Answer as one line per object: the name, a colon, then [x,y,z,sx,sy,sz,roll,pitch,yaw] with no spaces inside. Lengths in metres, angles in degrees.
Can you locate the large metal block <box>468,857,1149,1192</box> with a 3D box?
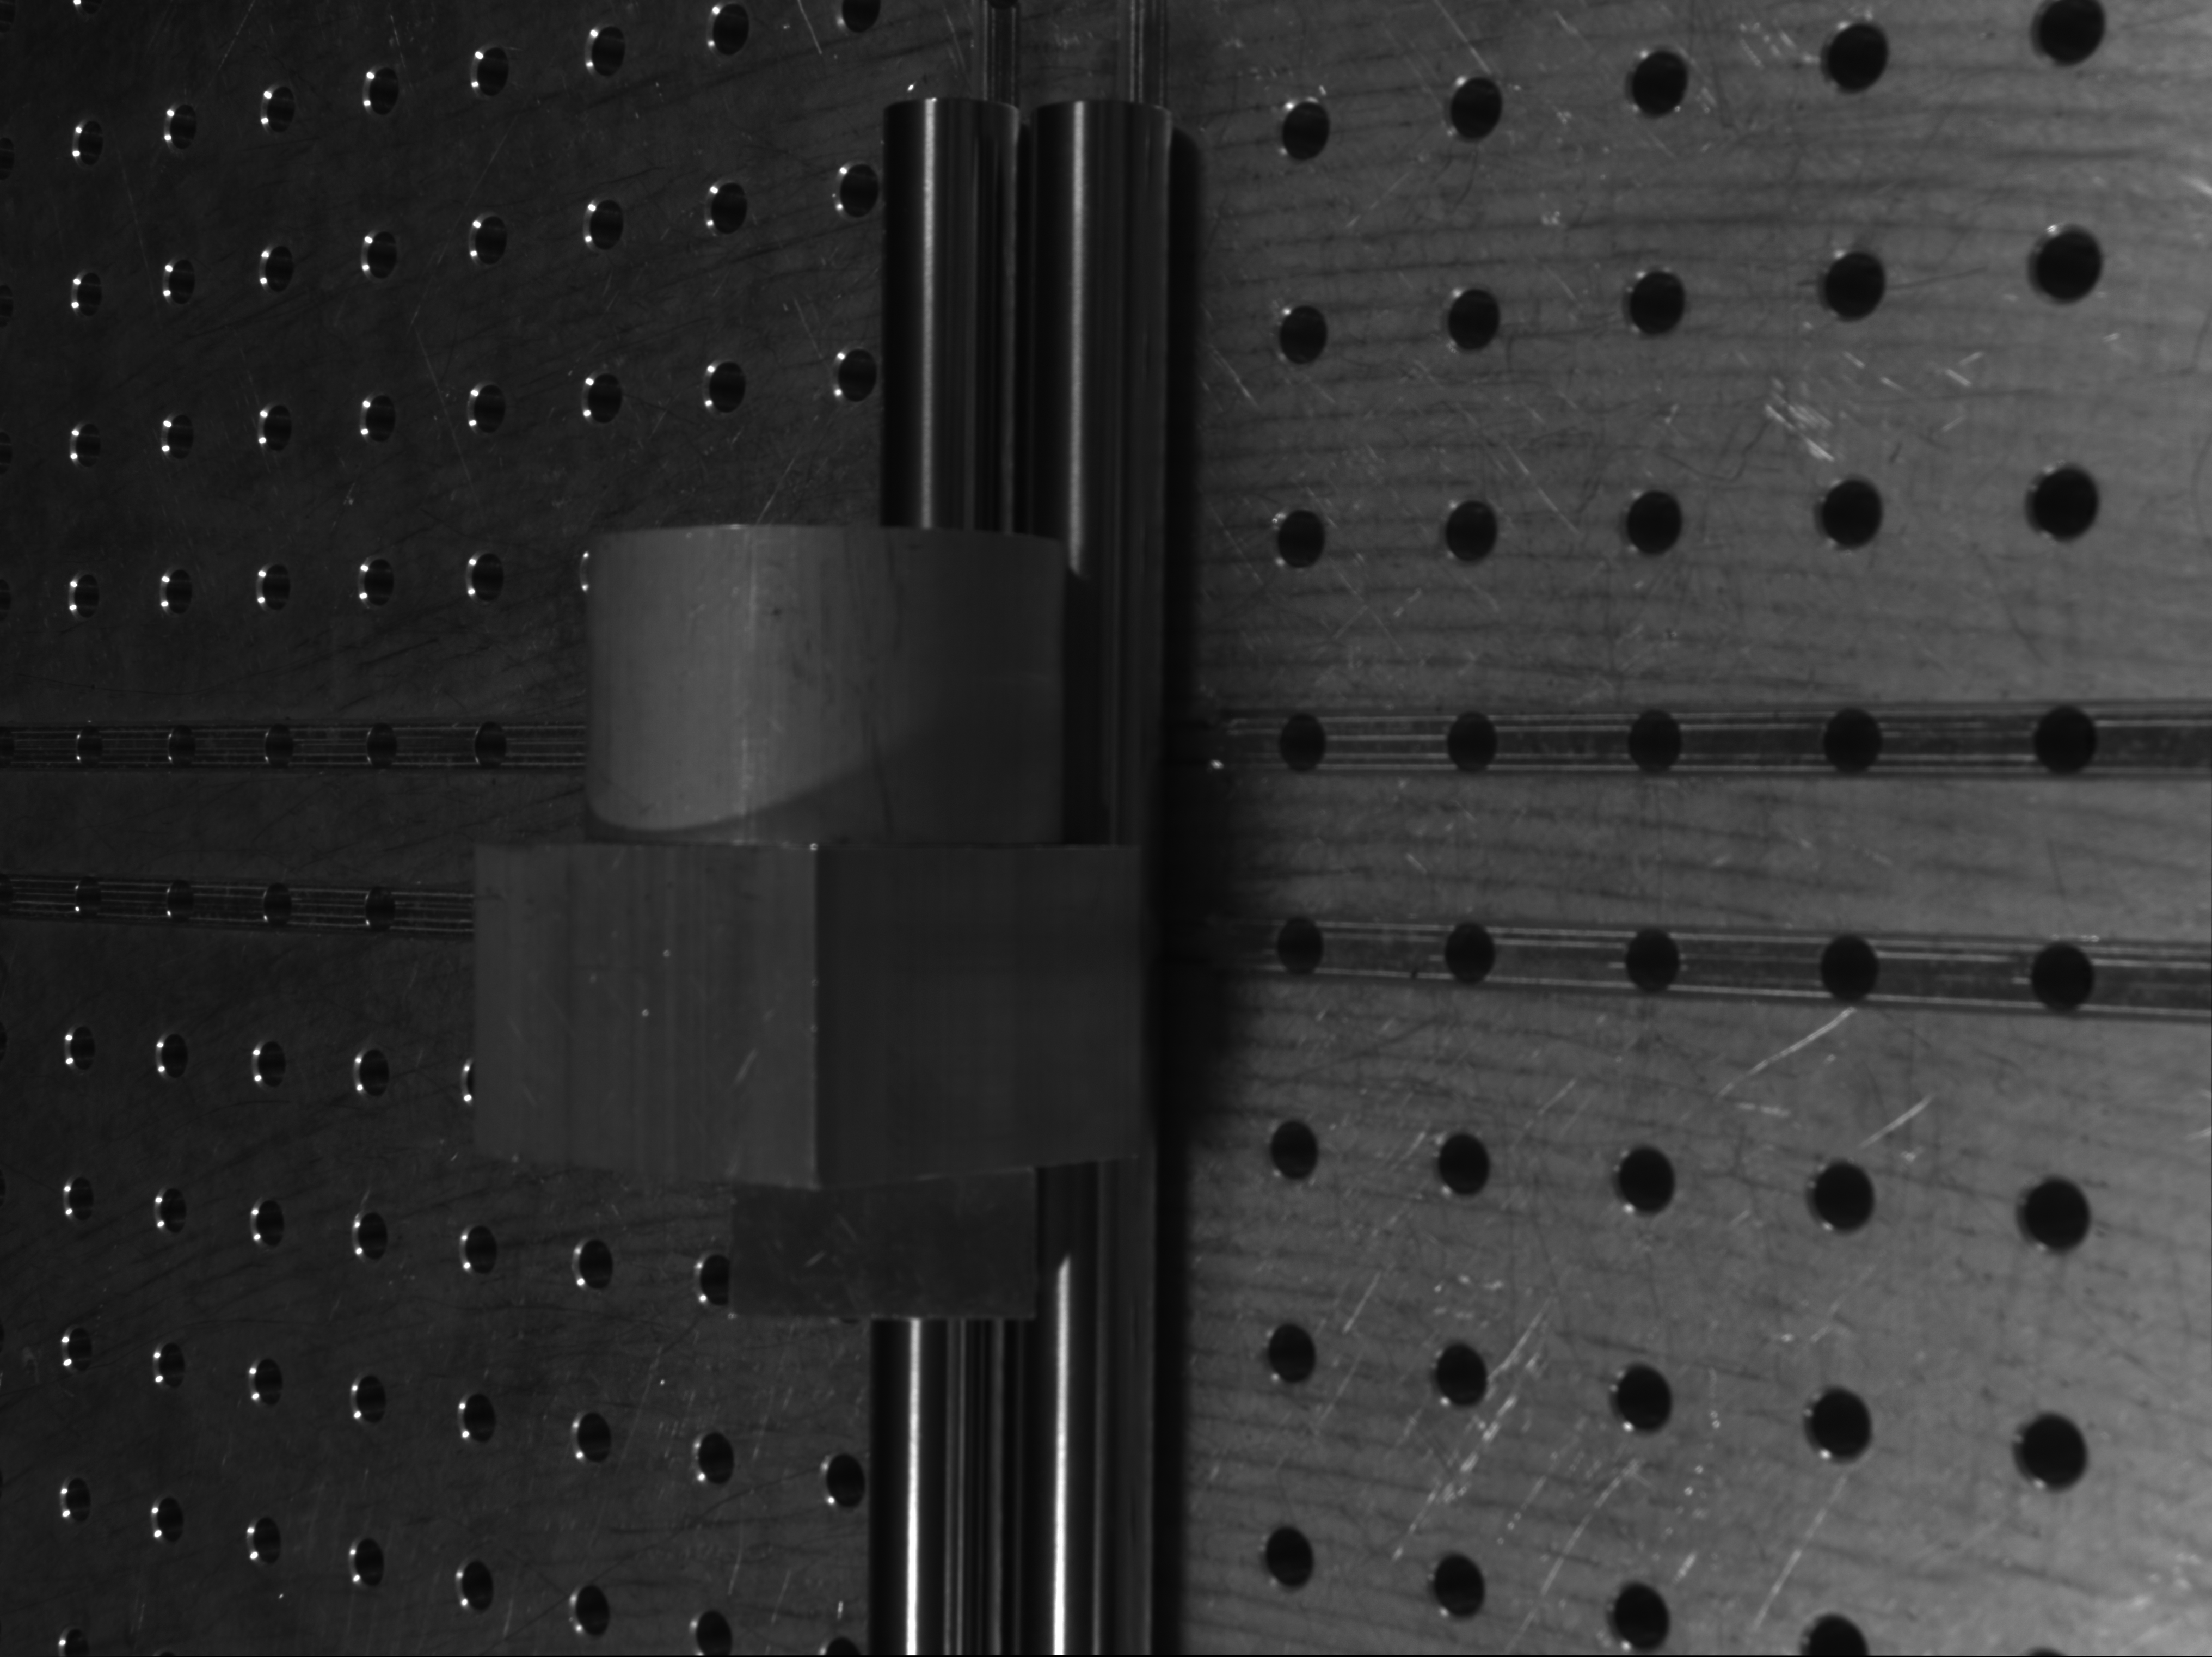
large metal block: [-0.049,0.030,0.612,0.080,0.080,0.050,0,90,39]

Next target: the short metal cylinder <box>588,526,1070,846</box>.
short metal cylinder: [-0.046,-0.023,0.614,0.080,0.080,0.050,1,90,39]

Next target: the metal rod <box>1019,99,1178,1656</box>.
metal rod: [-0.001,0.025,0.642,0.025,0.025,0.300,1,90,39]

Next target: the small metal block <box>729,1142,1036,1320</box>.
small metal block: [-0.039,0.068,0.625,0.050,0.050,0.025,1,90,-5]

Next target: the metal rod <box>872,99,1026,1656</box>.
metal rod: [-0.029,0.020,0.664,0.025,0.025,0.300,1,90,39]
